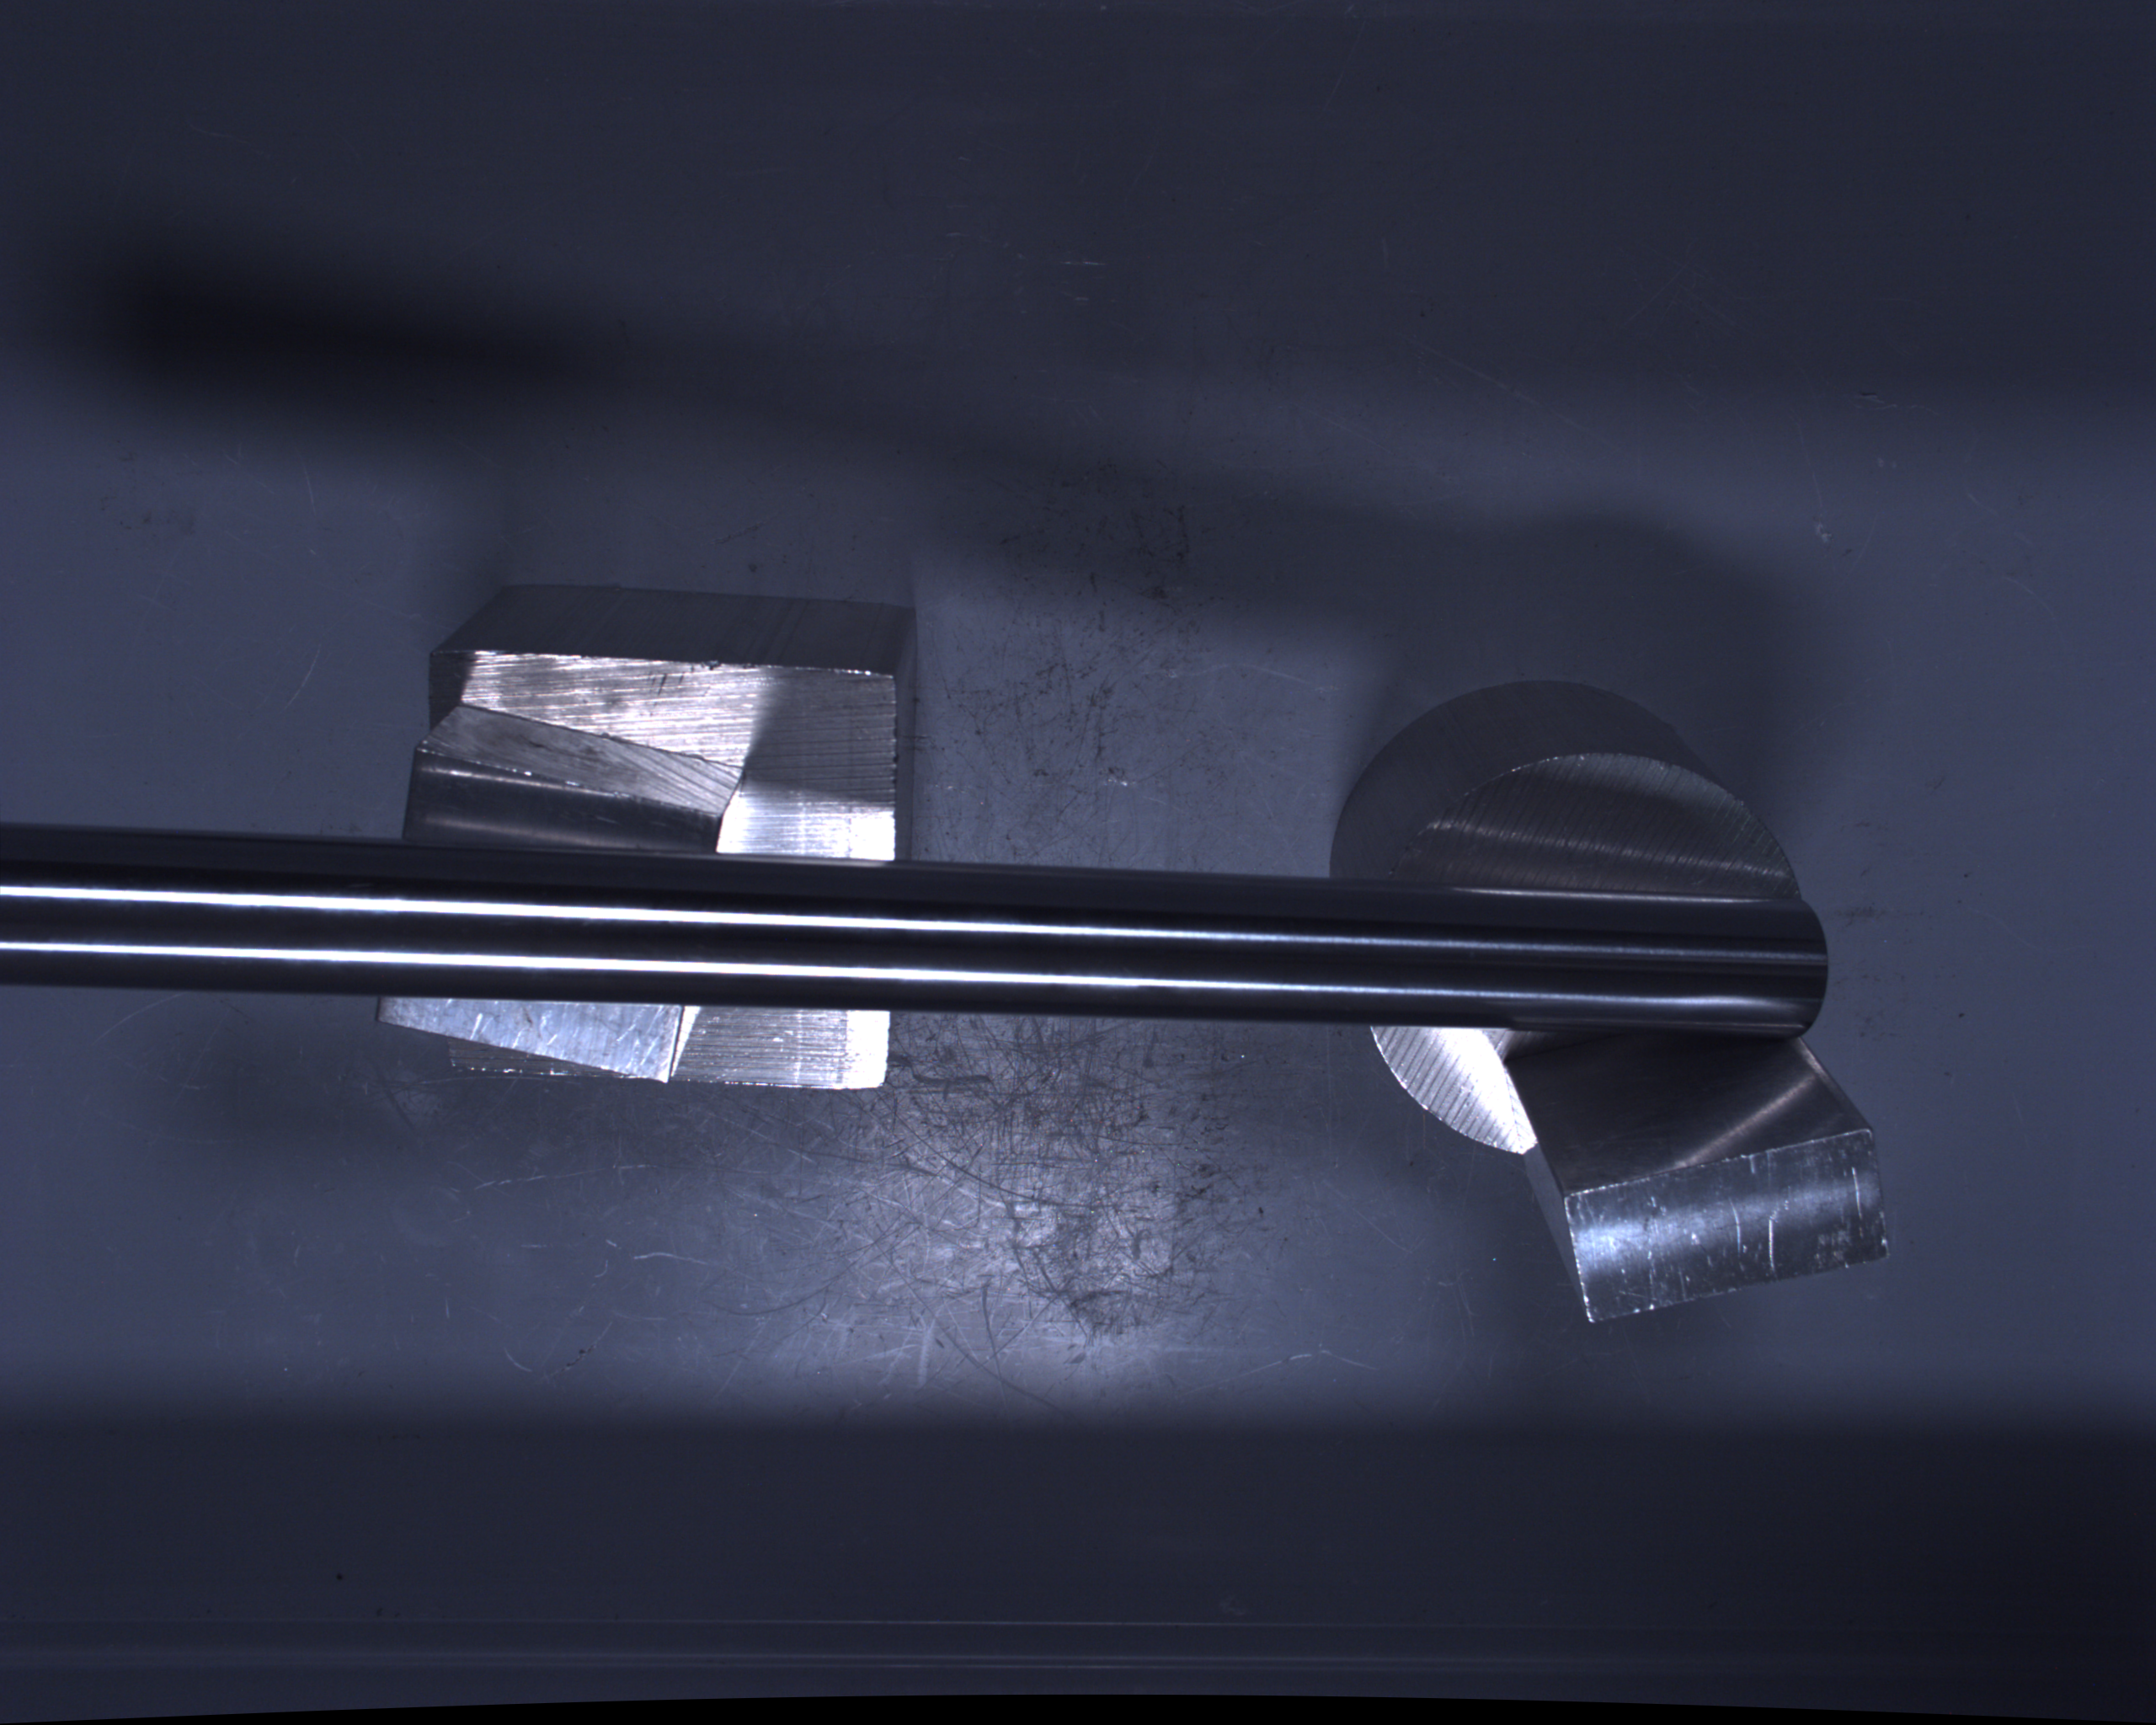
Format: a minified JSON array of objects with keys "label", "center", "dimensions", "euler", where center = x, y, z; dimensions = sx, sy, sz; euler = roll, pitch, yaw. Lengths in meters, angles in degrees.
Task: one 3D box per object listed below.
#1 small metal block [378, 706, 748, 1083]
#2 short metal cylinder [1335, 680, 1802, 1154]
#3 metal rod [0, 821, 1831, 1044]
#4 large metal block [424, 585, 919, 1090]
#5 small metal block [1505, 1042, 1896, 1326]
[{"label":"small metal block","center":[-0.088,0.005,0.357],"dimensions":[0.050,0.025,0.050],"euler":[12,109,-5]},{"label":"short metal cylinder","center":[0.092,0.010,0.401],"dimensions":[0.081,0.050,0.079],"euler":[0,110,-1]},{"label":"metal rod","center":[-0.024,0.012,0.339],"dimensions":[0.302,0.025,0.025],"euler":[3,110,-10]},{"label":"large metal block","center":[-0.073,-0.006,0.392],"dimensions":[0.081,0.050,0.079],"euler":[2,110,-2]},{"label":"small metal block","center":[0.106,0.051,0.362],"dimensions":[0.050,0.050,0.025],"euler":[-14,110,4]}]
